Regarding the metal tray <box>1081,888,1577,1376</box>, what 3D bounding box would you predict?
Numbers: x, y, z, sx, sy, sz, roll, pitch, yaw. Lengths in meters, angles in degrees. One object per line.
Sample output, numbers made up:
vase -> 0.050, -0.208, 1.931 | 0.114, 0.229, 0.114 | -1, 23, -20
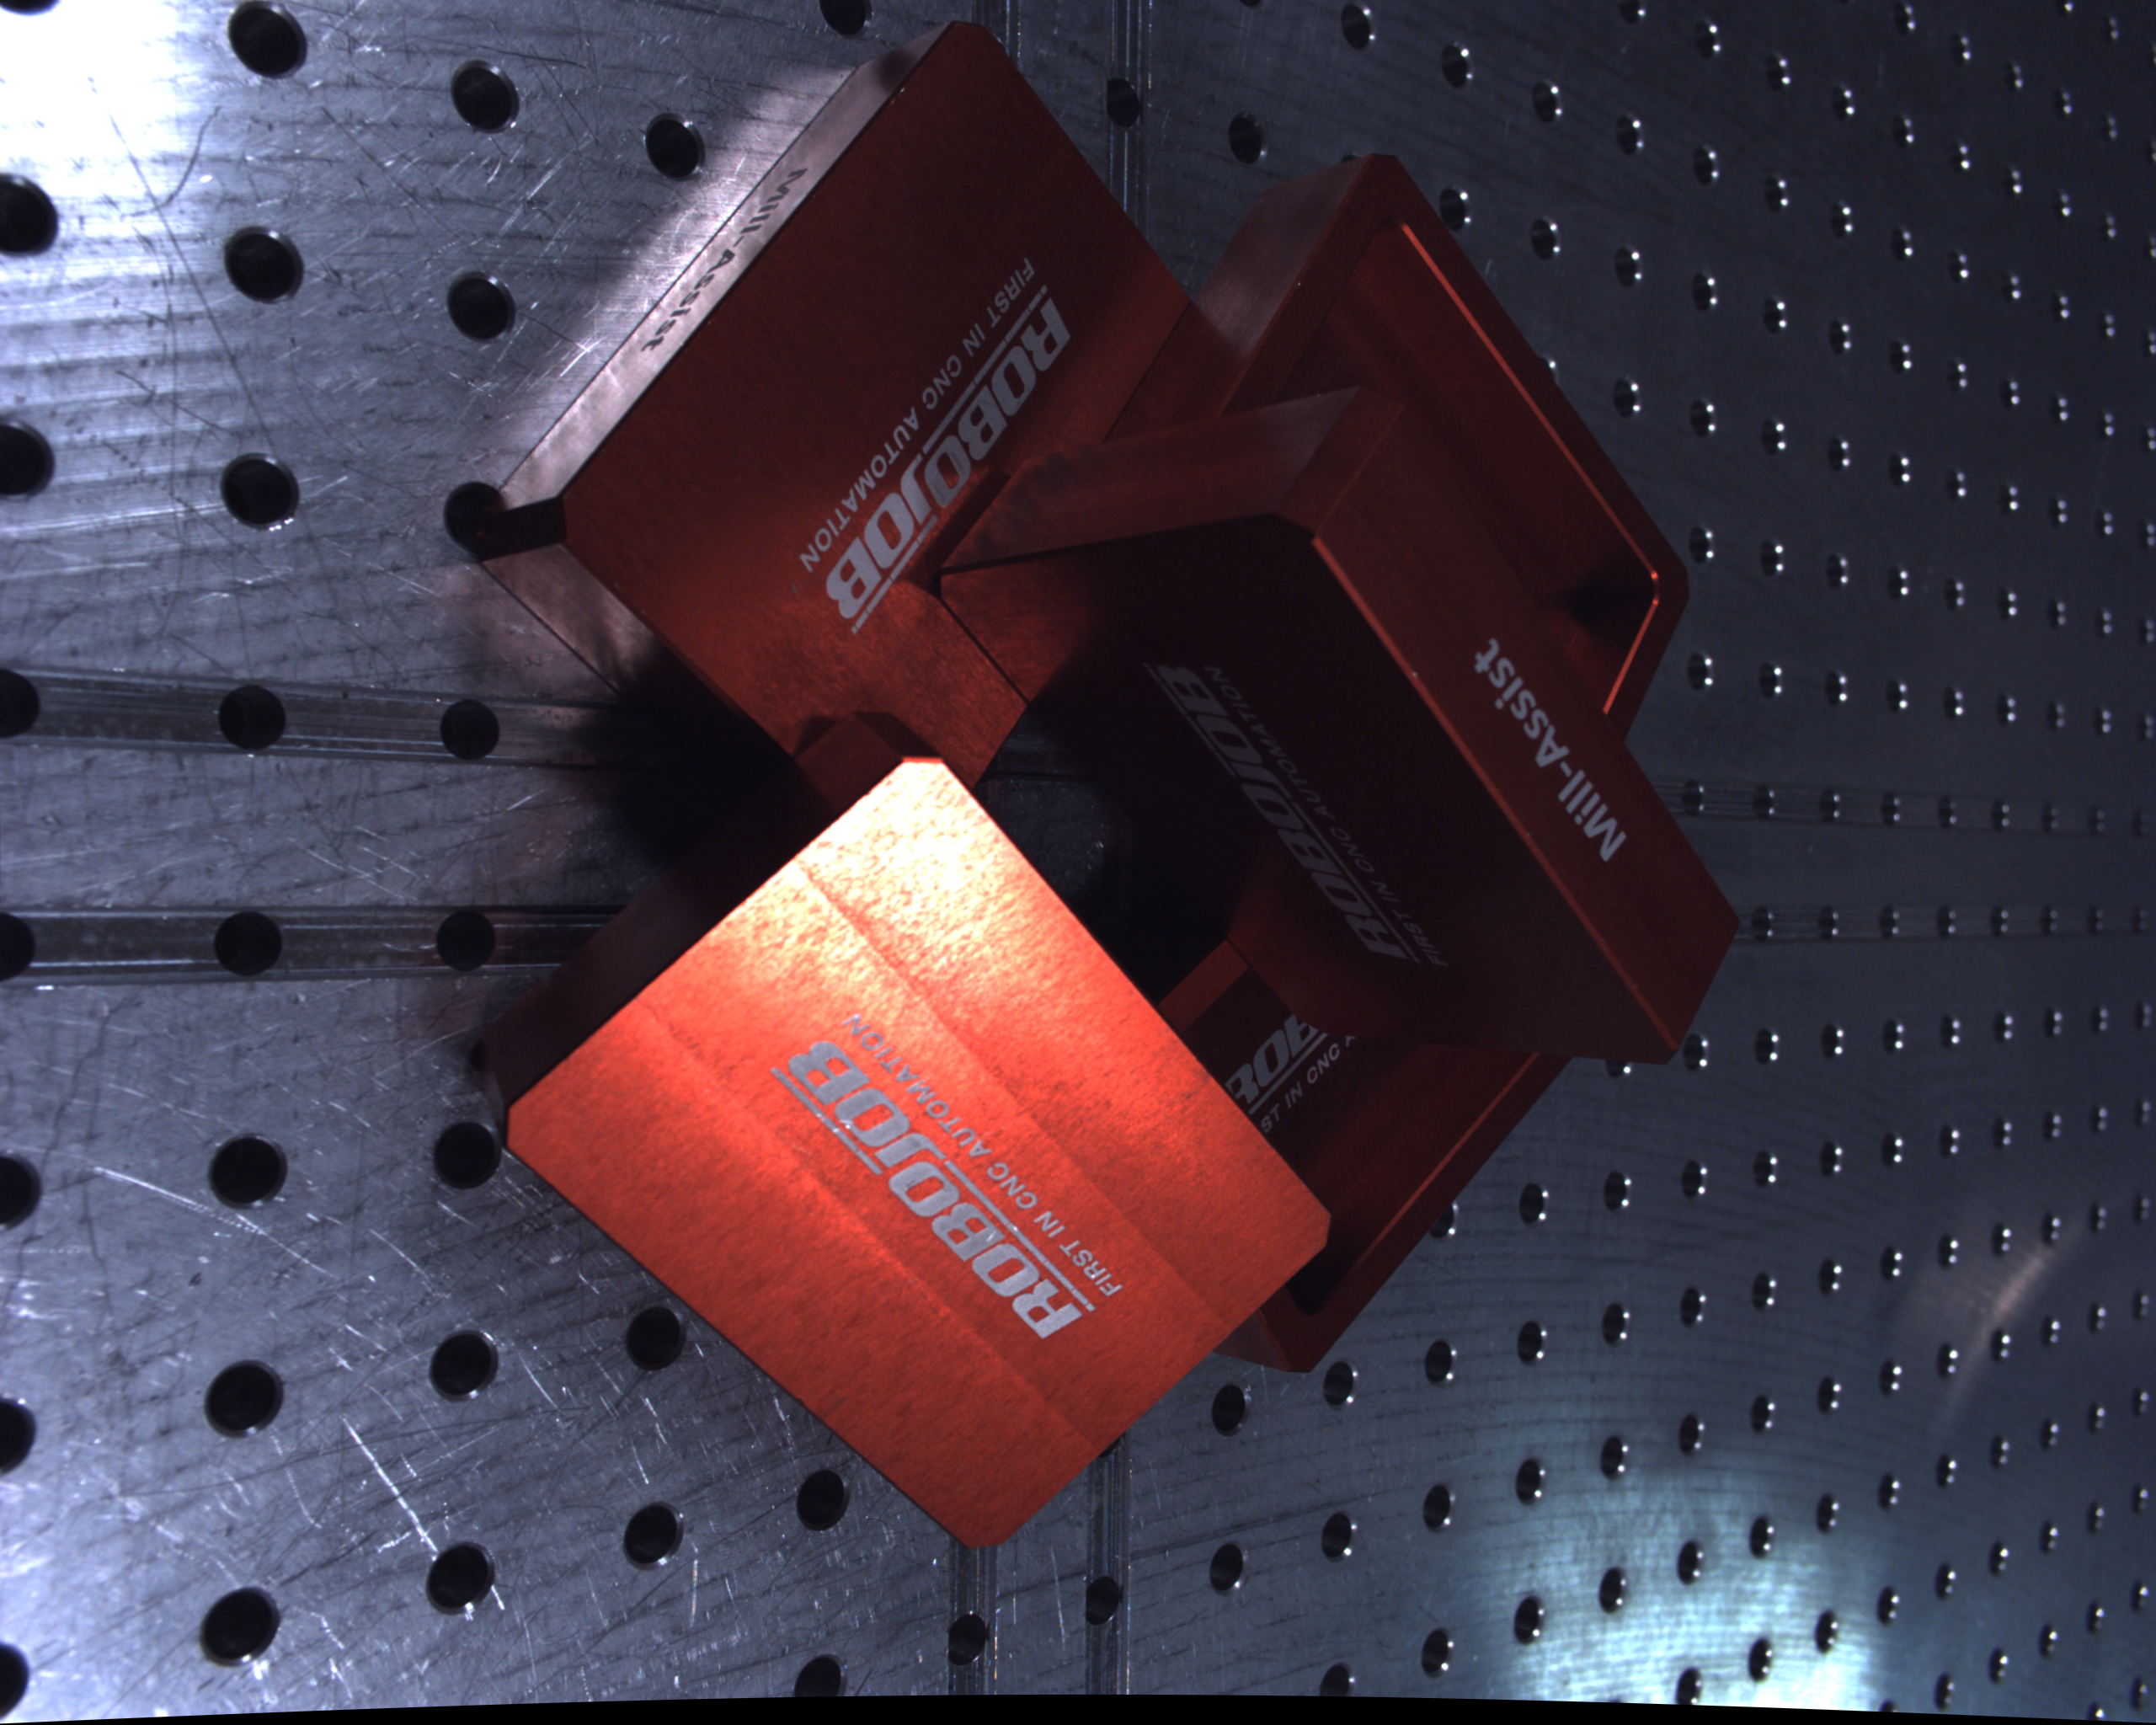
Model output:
metal tray -> 0.059, 0.035, 0.456 | 0.131, 0.030, 0.090 | -41, 115, -32

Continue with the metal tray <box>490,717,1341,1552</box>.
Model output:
metal tray -> -0.024, 0.050, 0.363 | 0.090, 0.030, 0.130 | -42, 119, -4

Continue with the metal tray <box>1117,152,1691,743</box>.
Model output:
metal tray -> 0.069, -0.065, 0.426 | 0.130, 0.030, 0.090 | 44, 64, -32

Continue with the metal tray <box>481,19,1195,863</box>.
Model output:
metal tray -> -0.033, -0.075, 0.379 | 0.090, 0.030, 0.130 | 47, 62, -30

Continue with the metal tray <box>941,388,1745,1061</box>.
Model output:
metal tray -> 0.047, -0.019, 0.368 | 0.130, 0.090, 0.030 | 48, 61, -30
